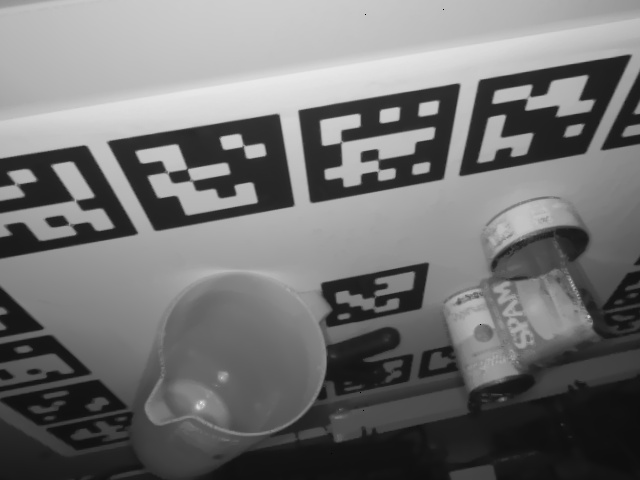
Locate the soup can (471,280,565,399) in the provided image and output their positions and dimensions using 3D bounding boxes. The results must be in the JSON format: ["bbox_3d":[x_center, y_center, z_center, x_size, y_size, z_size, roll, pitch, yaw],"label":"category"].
[{"bbox_3d":[0.203,0.100,0.710,0.068,0.102,0.067,-10,142,-7],"label":"soup can"}]

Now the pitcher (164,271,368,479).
[{"bbox_3d":[-0.064,0.137,0.645,0.192,0.133,0.239,-18,158,-31],"label":"pitcher"}]

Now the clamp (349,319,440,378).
[{"bbox_3d":[0.048,0.130,0.775,0.165,0.037,0.121,-7,148,-1],"label":"clamp"}]

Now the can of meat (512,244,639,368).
[{"bbox_3d":[0.243,0.056,0.654,0.082,0.102,0.058,-37,136,25],"label":"can of meat"}]

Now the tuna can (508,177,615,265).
[{"bbox_3d":[0.211,-0.016,0.610,0.086,0.034,0.085,-8,142,-6],"label":"tuna can"}]
